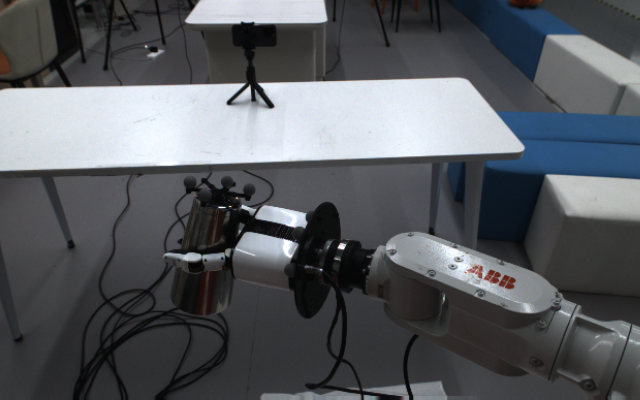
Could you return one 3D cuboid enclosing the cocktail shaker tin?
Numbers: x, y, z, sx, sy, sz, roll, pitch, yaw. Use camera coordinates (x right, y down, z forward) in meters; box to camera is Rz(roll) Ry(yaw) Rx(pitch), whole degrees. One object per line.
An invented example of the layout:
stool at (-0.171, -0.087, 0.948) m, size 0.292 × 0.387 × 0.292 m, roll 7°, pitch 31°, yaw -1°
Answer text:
cocktail shaker tin at (-0.160, 0.070, 0.705) m, size 0.093 × 0.170 × 0.093 m, roll 12°, pitch 24°, yaw -5°
